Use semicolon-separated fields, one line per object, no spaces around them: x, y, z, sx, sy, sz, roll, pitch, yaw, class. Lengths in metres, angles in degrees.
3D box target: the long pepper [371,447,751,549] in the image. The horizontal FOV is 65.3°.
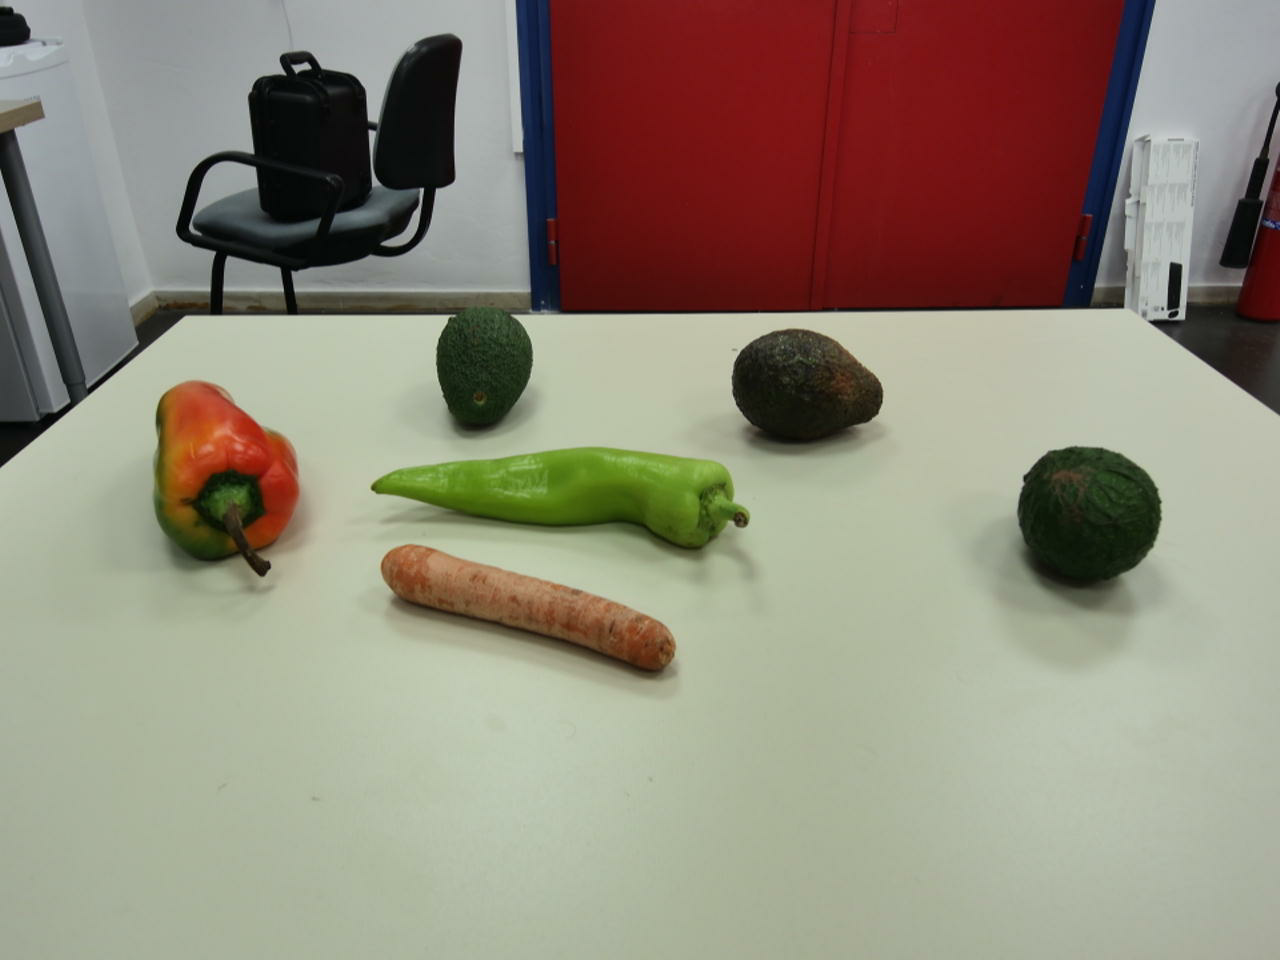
-0.037;0.004;0.530;0.205;0.045;0.065;8;27;14;long pepper
